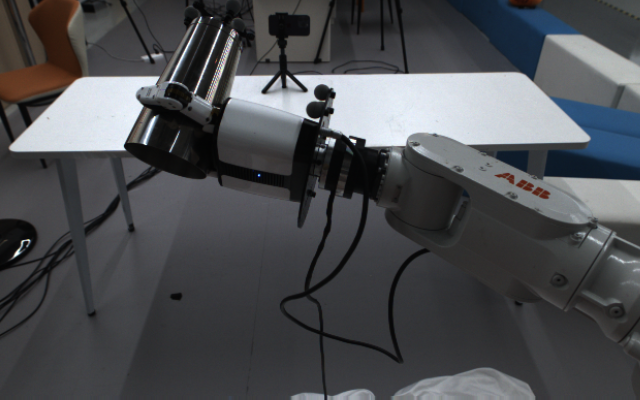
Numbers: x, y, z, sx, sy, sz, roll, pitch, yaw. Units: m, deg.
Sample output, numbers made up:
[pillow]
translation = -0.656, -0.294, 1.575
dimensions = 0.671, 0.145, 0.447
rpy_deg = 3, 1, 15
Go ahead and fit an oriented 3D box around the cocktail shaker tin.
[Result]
[cocktail shaker tin]
translation = -0.146, -0.118, 0.555
dimensions = 0.093, 0.093, 0.170
rpy_deg = 12, 73, 14
